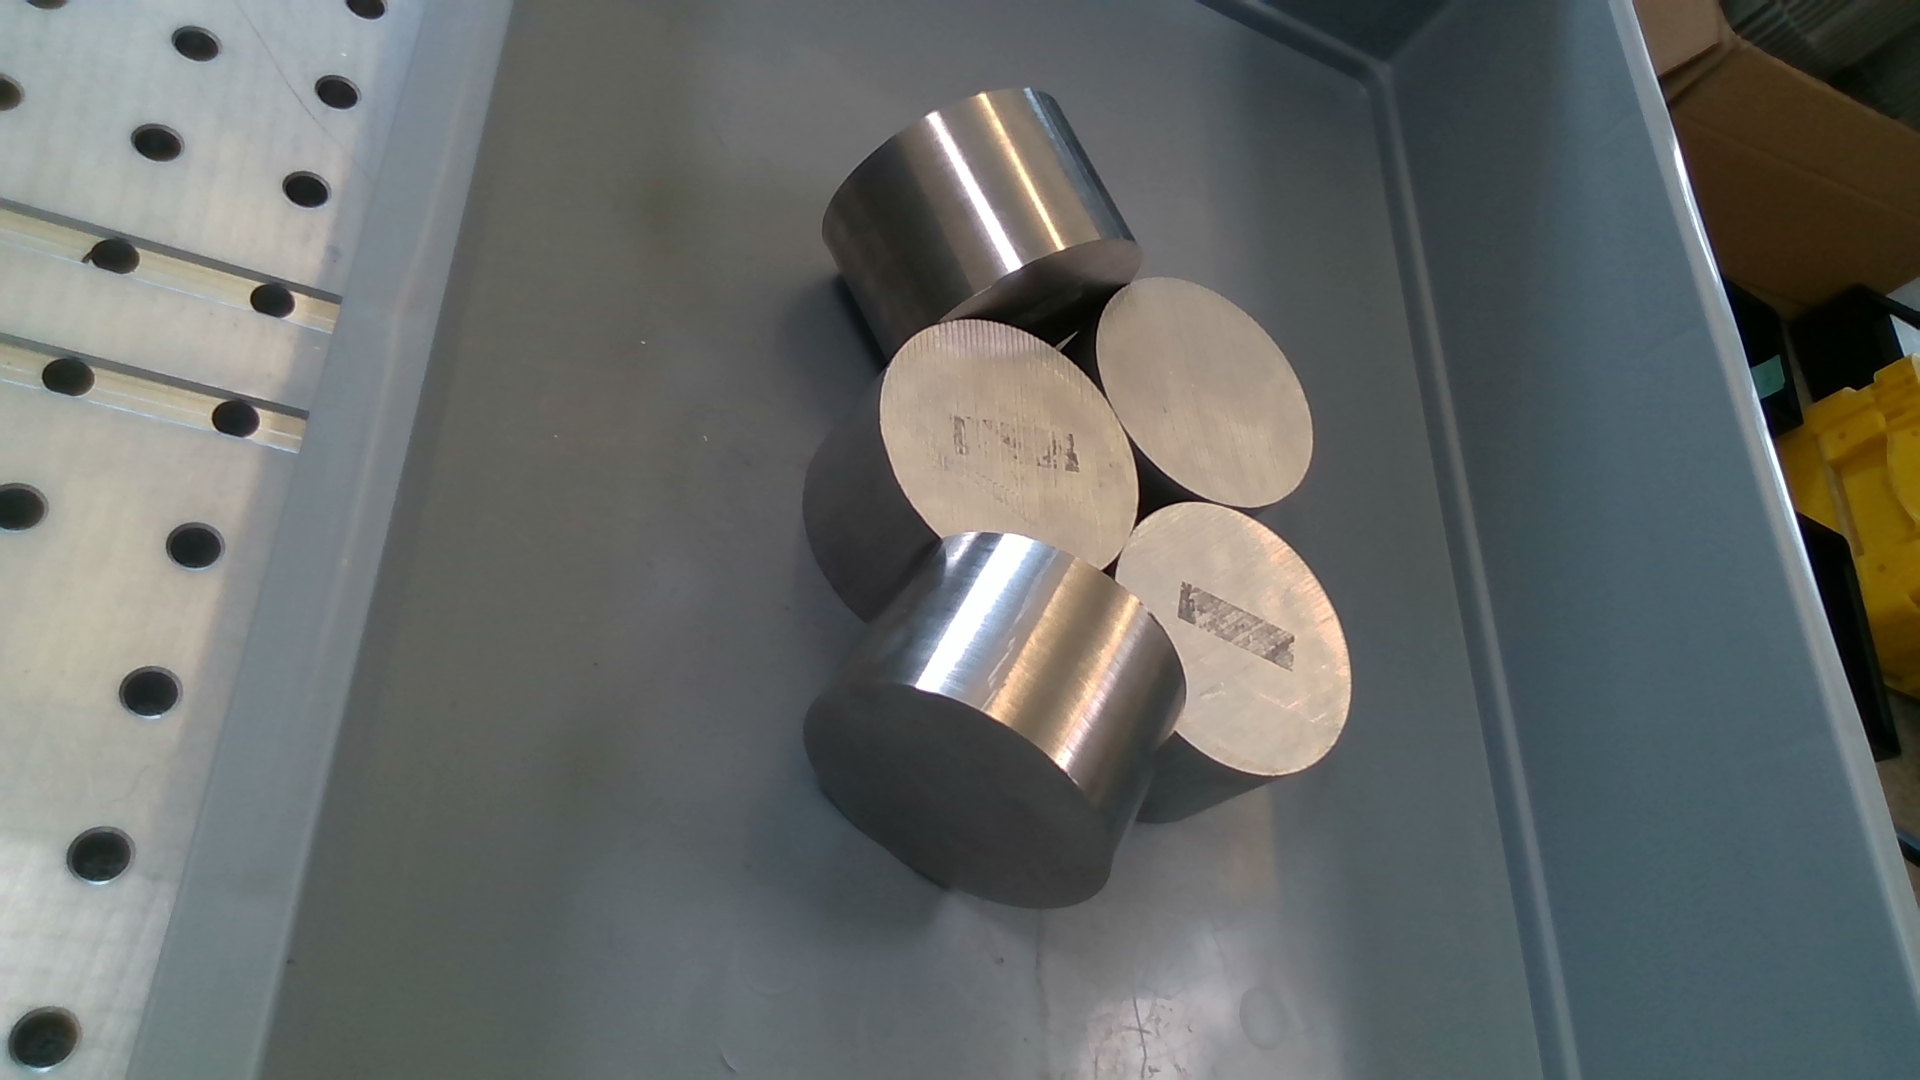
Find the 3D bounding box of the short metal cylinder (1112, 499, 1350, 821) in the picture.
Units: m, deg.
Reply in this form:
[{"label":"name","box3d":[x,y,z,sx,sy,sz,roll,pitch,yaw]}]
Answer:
[{"label":"short metal cylinder","box3d":[0.064,0.035,0.396,0.080,0.050,0.080,14,59,-25]}]

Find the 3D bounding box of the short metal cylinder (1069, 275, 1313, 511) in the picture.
[{"label":"short metal cylinder","box3d":[0.063,-0.036,0.434,0.080,0.050,0.080,14,59,-25]}]

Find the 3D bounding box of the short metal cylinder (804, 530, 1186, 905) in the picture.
[{"label":"short metal cylinder","box3d":[0.009,0.044,0.338,0.080,0.080,0.050,39,51,-8]}]

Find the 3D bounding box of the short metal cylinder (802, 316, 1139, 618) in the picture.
[{"label":"short metal cylinder","box3d":[0.003,-0.015,0.385,0.080,0.050,0.080,14,59,-25]}]

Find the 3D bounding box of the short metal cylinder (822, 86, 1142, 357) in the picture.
[{"label":"short metal cylinder","box3d":[0.006,-0.087,0.407,0.080,0.080,0.050,-18,76,-37]}]
